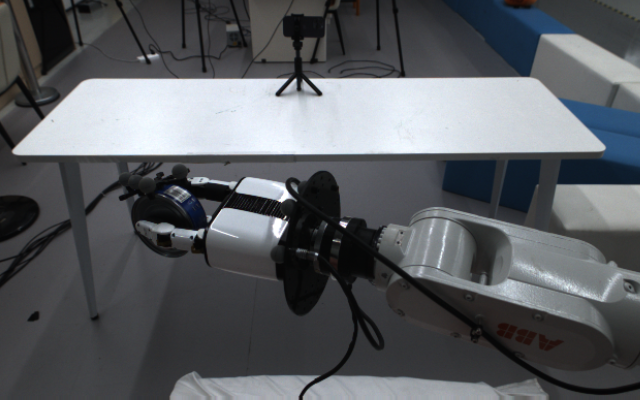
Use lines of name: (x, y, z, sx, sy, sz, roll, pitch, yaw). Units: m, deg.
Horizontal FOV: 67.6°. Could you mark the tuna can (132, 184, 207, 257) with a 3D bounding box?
tuna can: (-0.175, 0.026, 0.583, 0.085, 0.085, 0.034, 13, 28, 15)
